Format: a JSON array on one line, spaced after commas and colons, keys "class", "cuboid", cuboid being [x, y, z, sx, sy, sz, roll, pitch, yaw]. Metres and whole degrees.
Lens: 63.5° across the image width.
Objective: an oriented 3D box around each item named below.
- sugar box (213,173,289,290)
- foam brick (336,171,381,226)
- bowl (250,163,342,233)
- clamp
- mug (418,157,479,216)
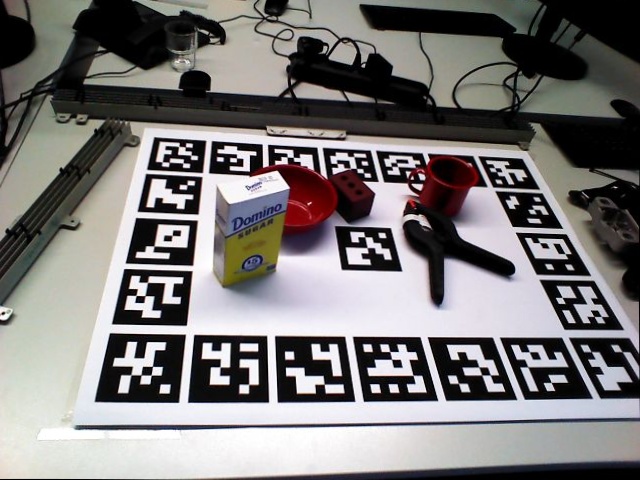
[{"class": "sugar box", "cuboid": [-0.101, -0.008, 0.735, 0.092, 0.177, 0.045, -18, 55, -26]}, {"class": "foam brick", "cuboid": [0.066, -0.074, 0.919, 0.052, 0.051, 0.078, -21, 55, -25]}, {"class": "bowl", "cuboid": [-0.046, -0.063, 0.878, 0.162, 0.055, 0.160, 5, 47, -6]}, {"class": "clamp", "cuboid": [0.210, 0.003, 0.867, 0.165, 0.037, 0.202, -18, 54, -22]}, {"class": "mug", "cuboid": [0.234, -0.102, 0.943, 0.117, 0.082, 0.092, 23, 48, 7]}]
